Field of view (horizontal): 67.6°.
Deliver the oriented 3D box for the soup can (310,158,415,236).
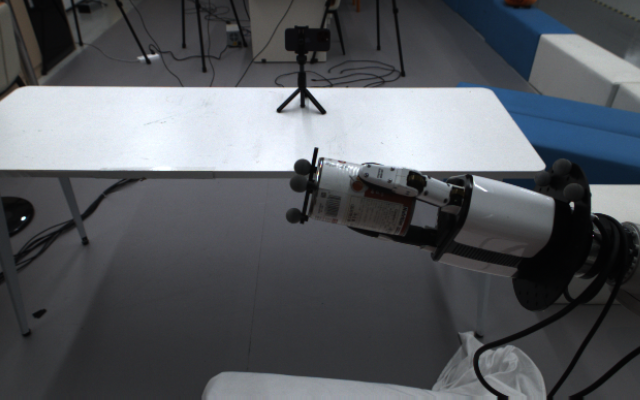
[{"bbox_3d":[0.046,-0.004,0.510,0.101,0.067,0.067,11,35,-2],"label":"soup can"}]
